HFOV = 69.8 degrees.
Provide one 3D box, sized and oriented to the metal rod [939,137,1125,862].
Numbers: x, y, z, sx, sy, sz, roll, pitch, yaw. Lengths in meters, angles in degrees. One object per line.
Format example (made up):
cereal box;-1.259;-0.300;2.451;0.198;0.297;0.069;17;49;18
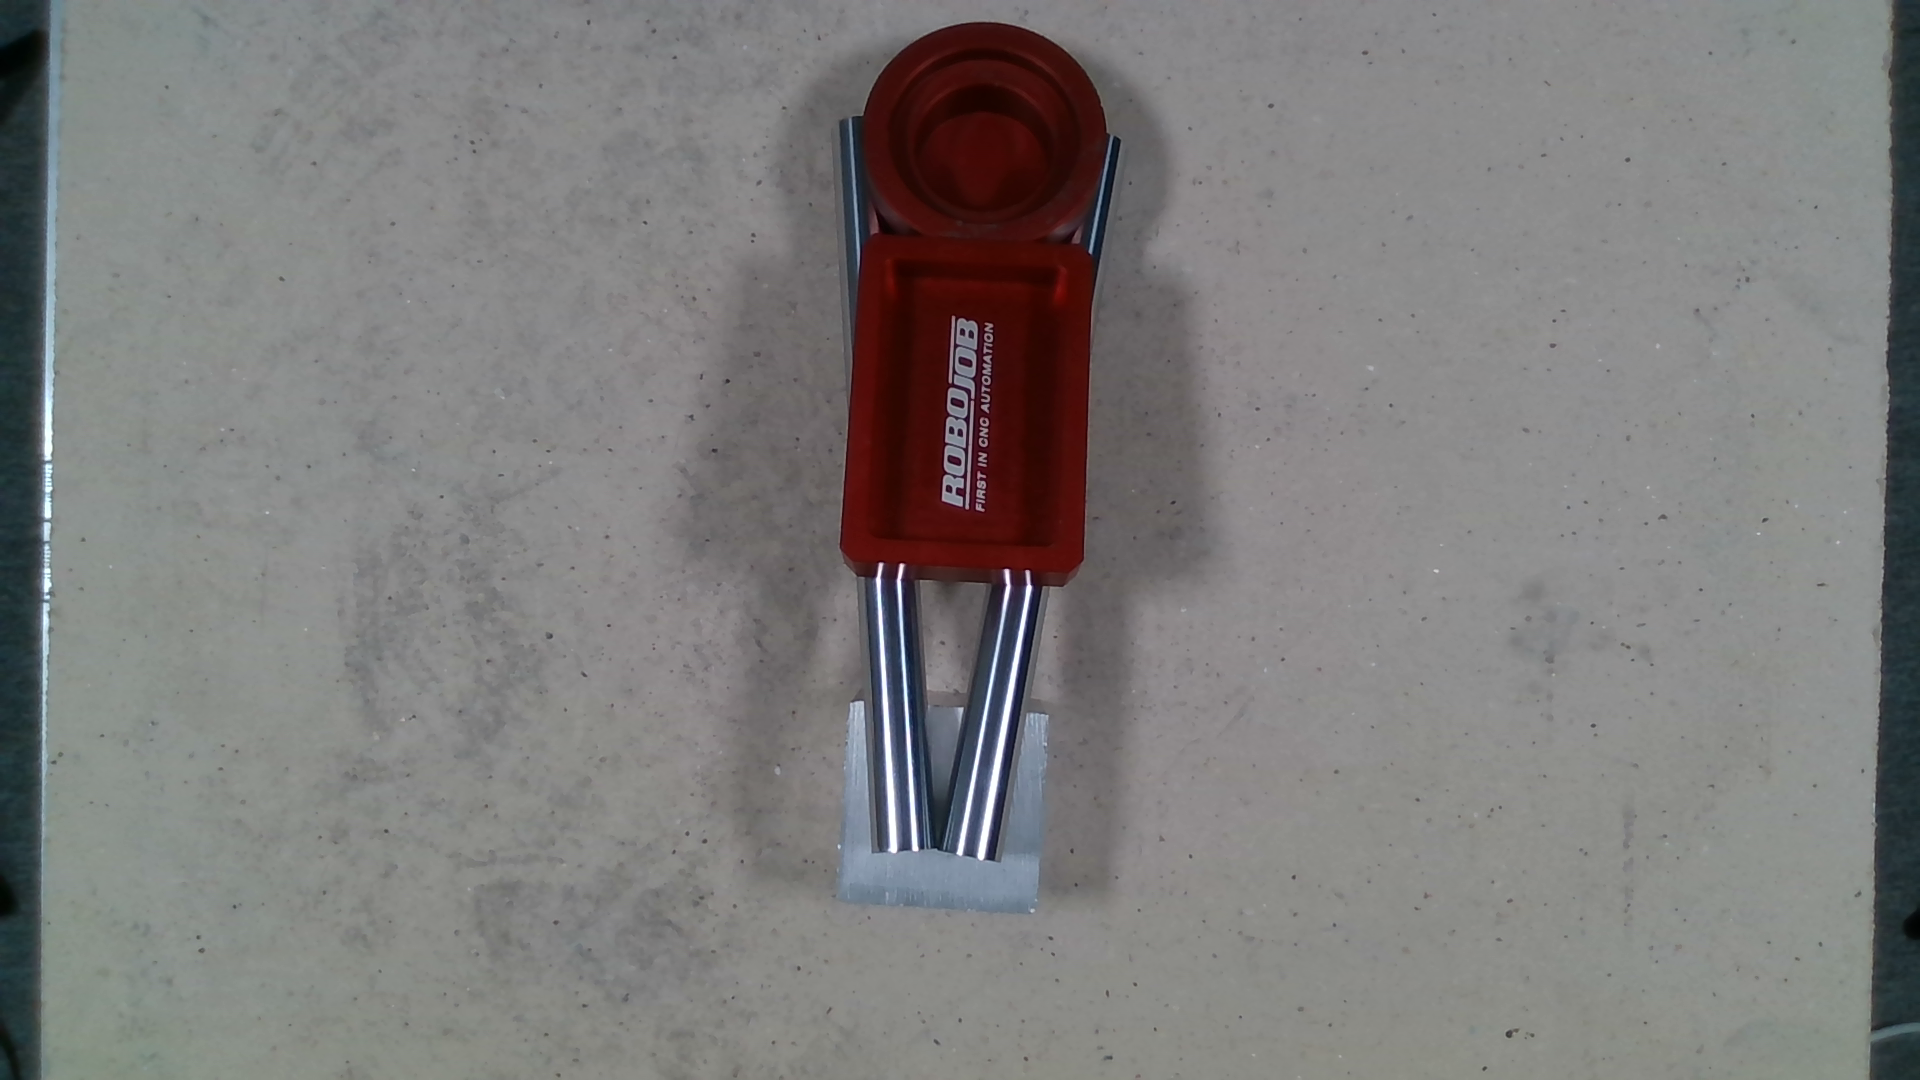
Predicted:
metal rod;0.031;-0.024;0.555;0.025;0.025;0.299;11;78;0

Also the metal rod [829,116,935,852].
metal rod;-0.033;-0.028;0.555;0.025;0.025;0.299;-4;78;0

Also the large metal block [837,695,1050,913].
large metal block;-0.007;0.106;0.574;0.080;0.050;0.080;4;90;0

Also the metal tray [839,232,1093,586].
metal tray;0.003;-0.051;0.532;0.090;0.030;0.130;3;78;0

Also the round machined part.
round machined part;0.010;-0.159;0.572;0.098;0.042;0.098;0;80;-1
